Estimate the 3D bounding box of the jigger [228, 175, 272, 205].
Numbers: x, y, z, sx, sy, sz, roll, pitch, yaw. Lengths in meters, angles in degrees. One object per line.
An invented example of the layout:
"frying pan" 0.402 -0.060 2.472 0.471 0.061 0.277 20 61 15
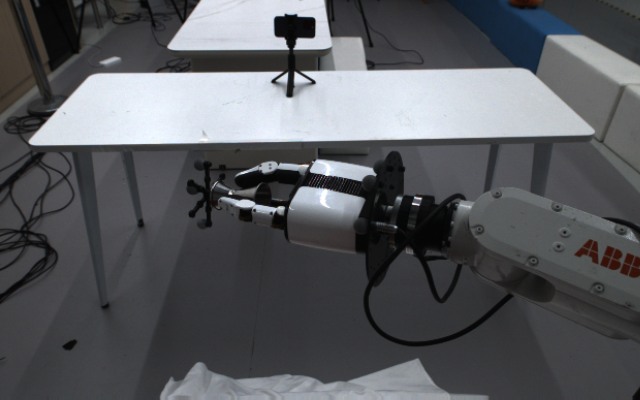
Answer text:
"jigger" -0.097 -0.006 0.629 0.071 0.043 0.043 5 33 22
